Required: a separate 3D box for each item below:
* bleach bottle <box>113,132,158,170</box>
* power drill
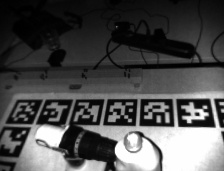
[{"bbox_3d":[0.041,0.164,0.440,0.102,0.253,0.068,1,46,14],"label":"bleach bottle"},{"bbox_3d":[-0.065,0.157,0.471,0.183,0.188,0.057,10,53,18],"label":"power drill"}]
